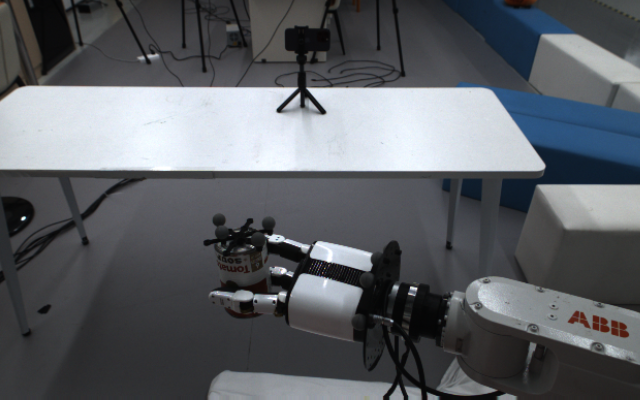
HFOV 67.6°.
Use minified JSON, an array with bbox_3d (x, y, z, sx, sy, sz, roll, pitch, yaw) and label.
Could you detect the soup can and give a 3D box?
[{"bbox_3d":[-0.097,0.096,0.640,0.067,0.101,0.067,-3,27,2],"label":"soup can"}]
